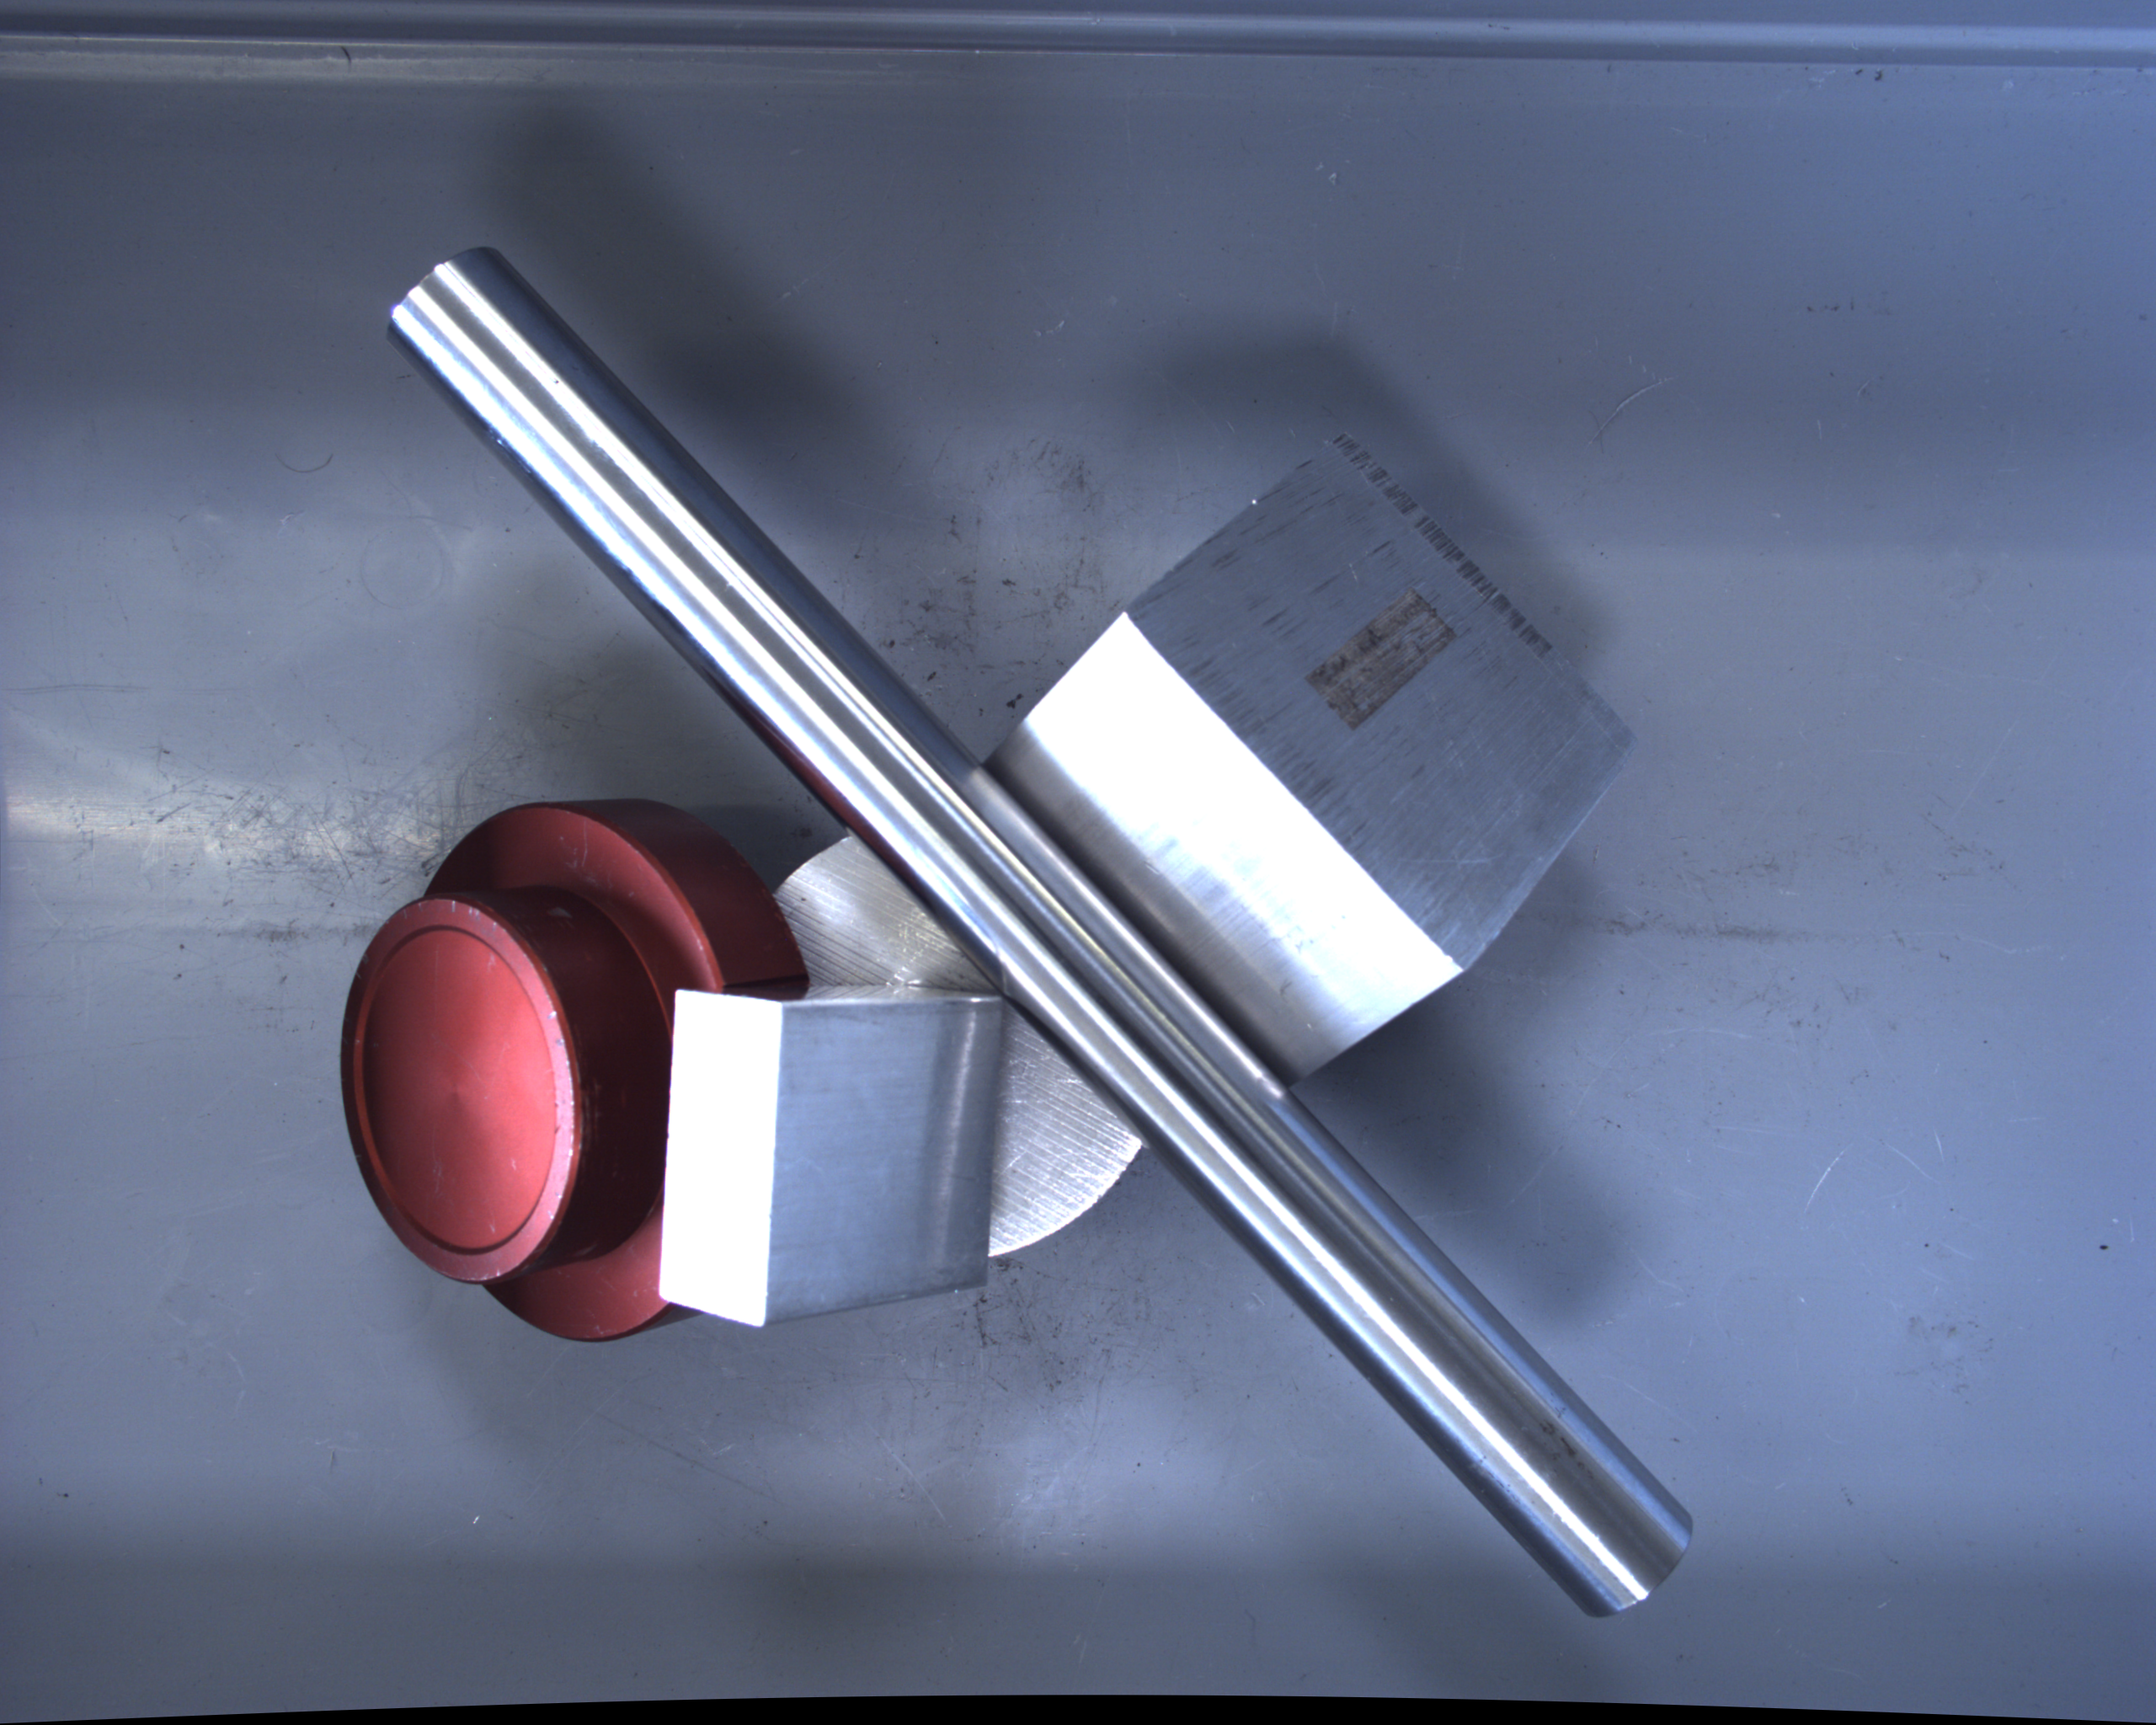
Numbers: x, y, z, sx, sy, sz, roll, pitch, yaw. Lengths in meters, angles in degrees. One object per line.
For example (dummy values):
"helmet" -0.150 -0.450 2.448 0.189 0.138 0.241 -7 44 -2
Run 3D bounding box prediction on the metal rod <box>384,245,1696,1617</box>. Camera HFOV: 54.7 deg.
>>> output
"metal rod" -0.006 0.012 0.359 0.025 0.025 0.300 -43 90 0

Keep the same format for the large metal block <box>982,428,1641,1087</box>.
"large metal block" 0.043 -0.020 0.376 0.080 0.050 0.080 46 47 0

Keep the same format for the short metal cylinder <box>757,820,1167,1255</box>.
"short metal cylinder" -0.024 0.031 0.397 0.081 0.050 0.079 0 90 0

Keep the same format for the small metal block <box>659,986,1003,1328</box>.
"small metal block" -0.040 0.046 0.345 0.025 0.050 0.050 3 91 40

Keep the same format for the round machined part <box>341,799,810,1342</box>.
"round machined part" -0.095 0.038 0.375 0.098 0.042 0.097 3 95 38
